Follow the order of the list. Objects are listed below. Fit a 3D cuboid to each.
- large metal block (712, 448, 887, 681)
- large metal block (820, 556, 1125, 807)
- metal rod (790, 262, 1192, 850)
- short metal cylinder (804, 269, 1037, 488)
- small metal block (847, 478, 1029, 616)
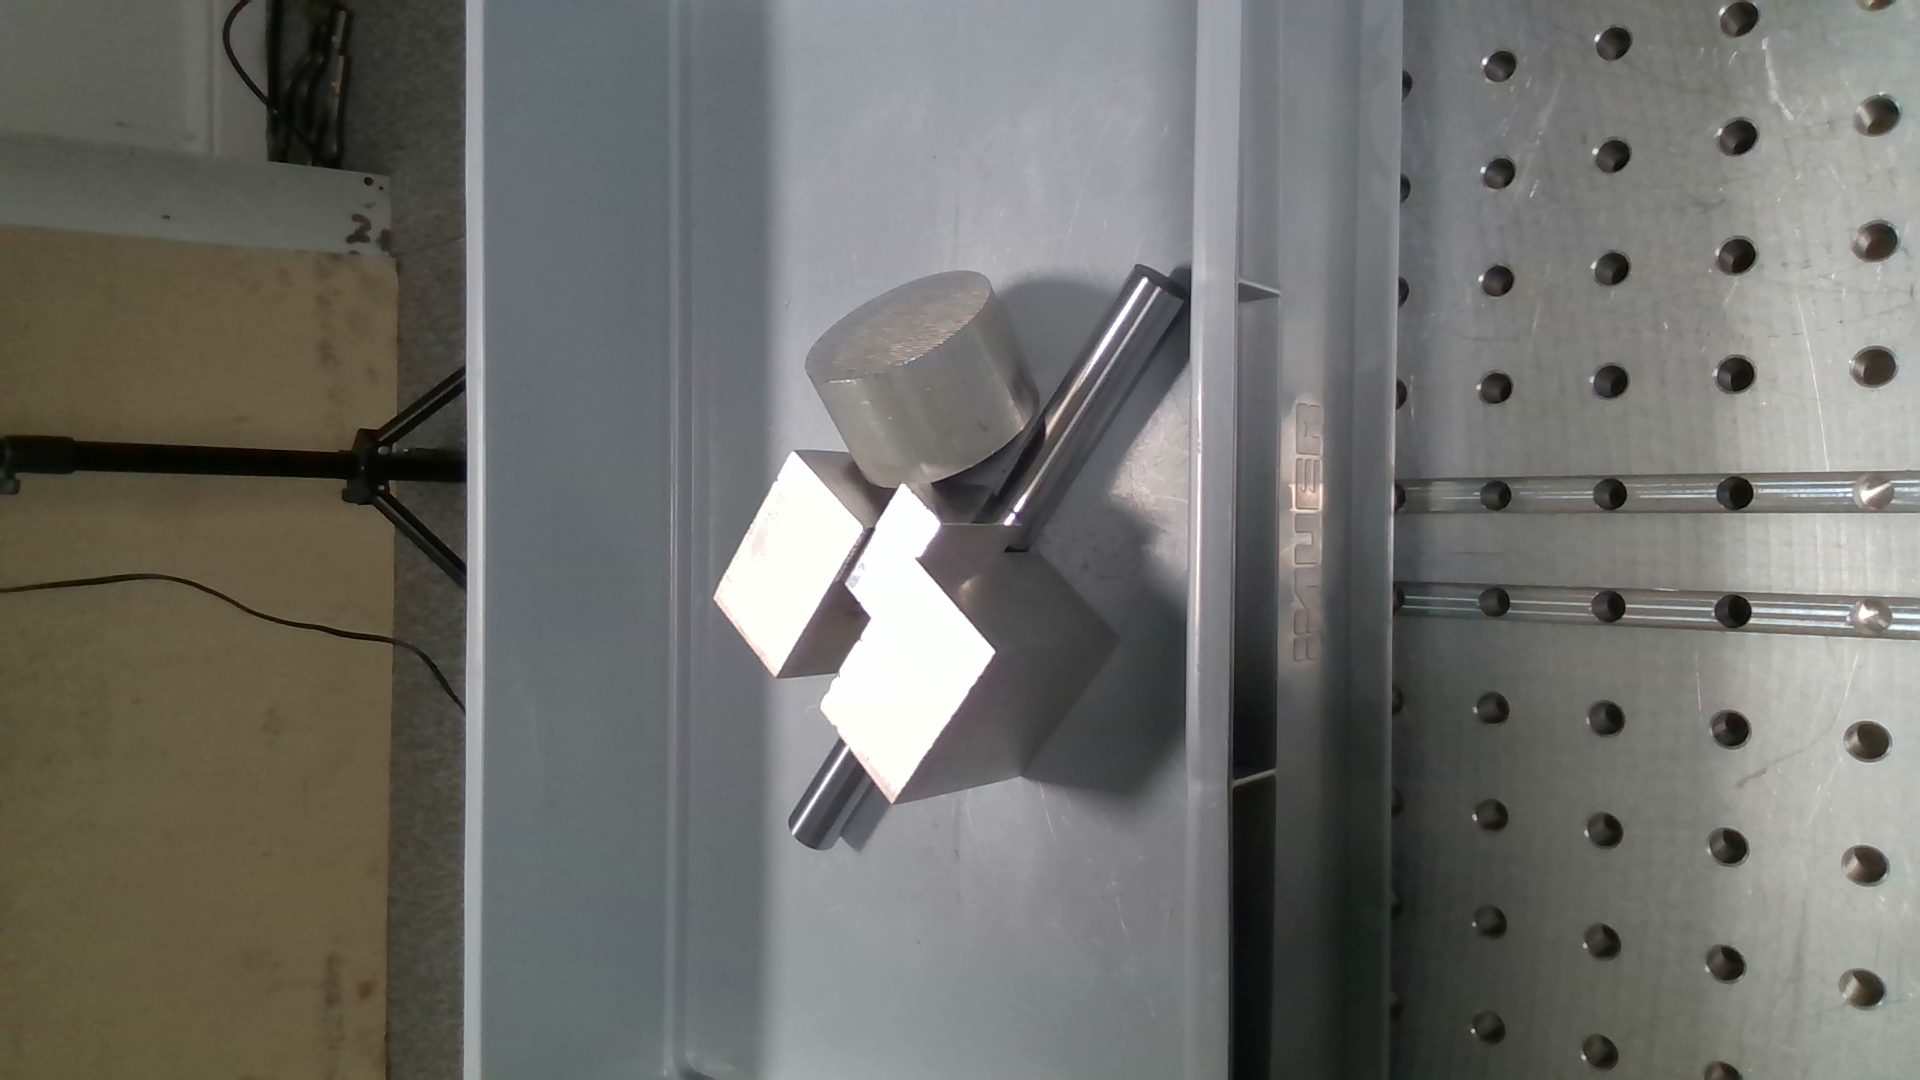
[{"bbox_3d":[-0.045,0.010,0.584,0.050,0.080,0.080,47,118,30],"label":"large metal block"},{"bbox_3d":[0.005,0.053,0.542,0.050,0.080,0.080,48,119,29],"label":"large metal block"},{"bbox_3d":[0.004,0.019,0.578,0.025,0.025,0.301,47,119,30],"label":"metal rod"},{"bbox_3d":[-0.015,-0.065,0.549,0.080,0.080,0.050,1,130,40],"label":"short metal cylinder"},{"bbox_3d":[-0.008,0.004,0.541,0.025,0.050,0.050,49,119,29],"label":"small metal block"}]
